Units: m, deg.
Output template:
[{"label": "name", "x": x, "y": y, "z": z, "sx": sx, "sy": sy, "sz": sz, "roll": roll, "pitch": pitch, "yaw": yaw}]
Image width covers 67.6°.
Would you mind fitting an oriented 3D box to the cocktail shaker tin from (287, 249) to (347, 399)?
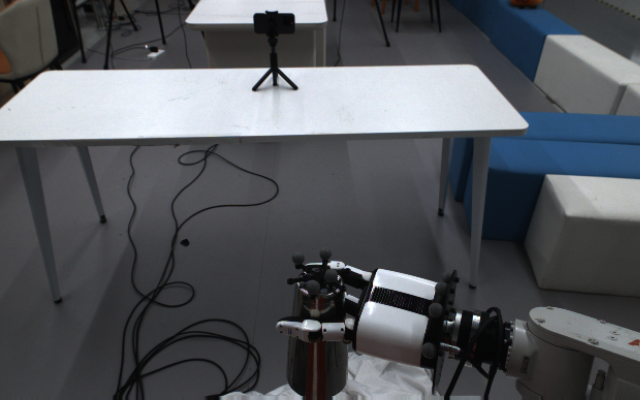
[{"label": "cocktail shaker tin", "x": 0.000, "y": 0.182, "z": 0.686, "sx": 0.093, "sy": 0.170, "sz": 0.093, "roll": 1, "pitch": 26, "yaw": -1}]
